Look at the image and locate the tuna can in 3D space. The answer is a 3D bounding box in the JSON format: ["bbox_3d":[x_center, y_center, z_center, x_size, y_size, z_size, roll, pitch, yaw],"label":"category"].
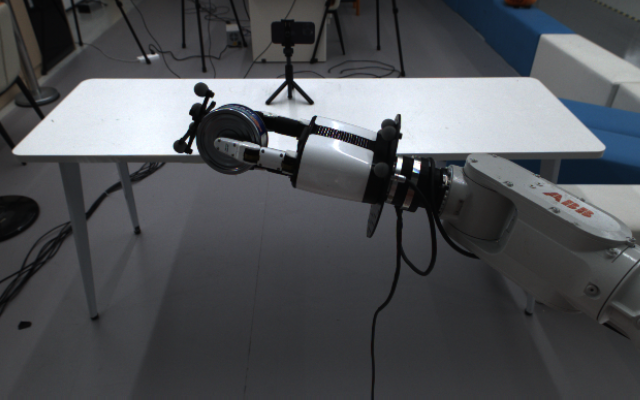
[{"bbox_3d":[-0.109,-0.077,0.610,0.085,0.085,0.034,6,20,5],"label":"tuna can"}]
